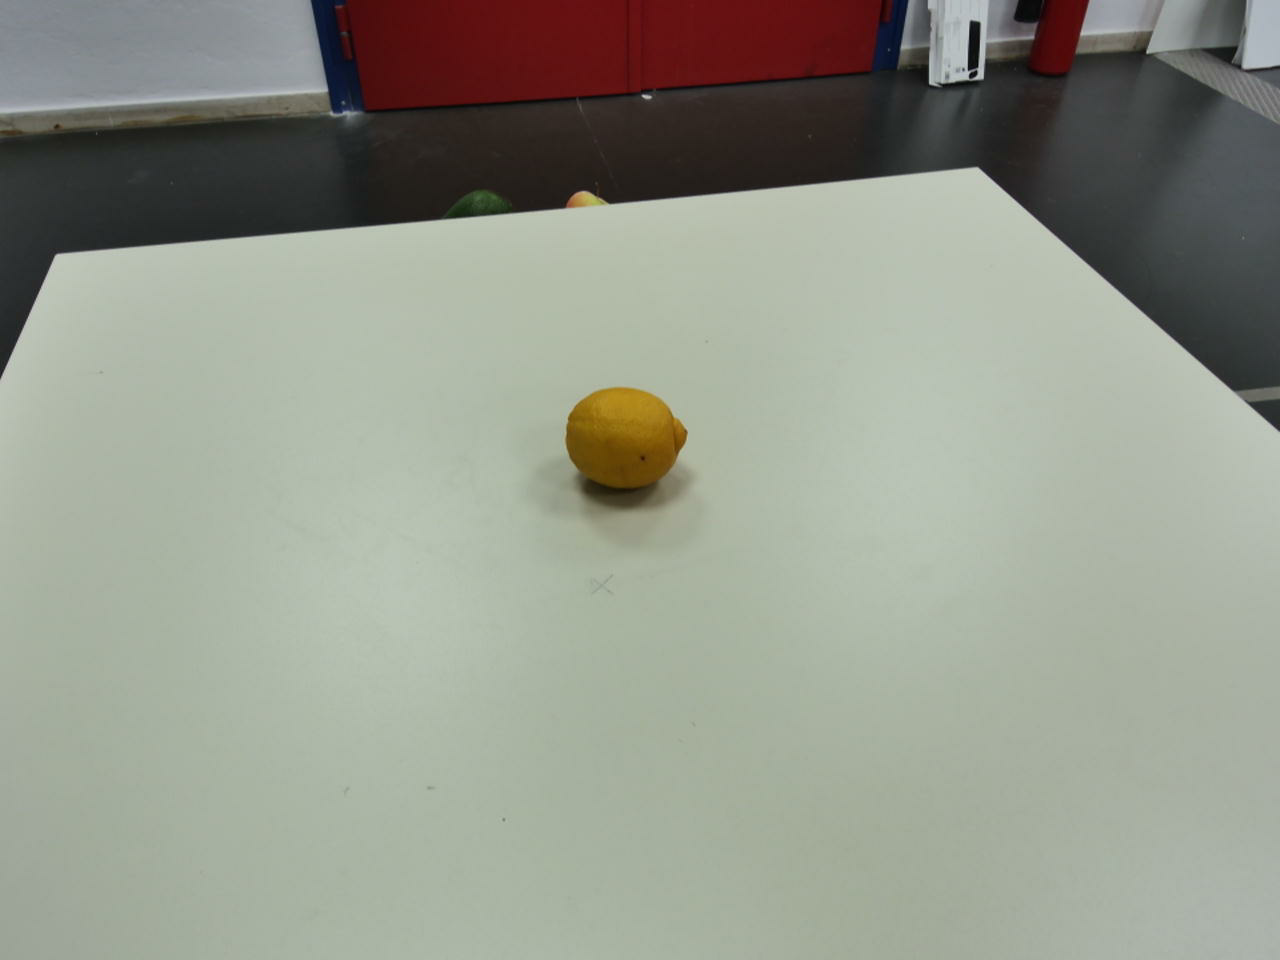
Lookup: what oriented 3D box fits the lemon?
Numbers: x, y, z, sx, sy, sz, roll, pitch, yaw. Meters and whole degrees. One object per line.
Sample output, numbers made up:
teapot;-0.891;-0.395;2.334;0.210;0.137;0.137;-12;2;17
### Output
lemon;-0.010;-0.024;0.590;0.067;0.059;0.060;20;43;23
